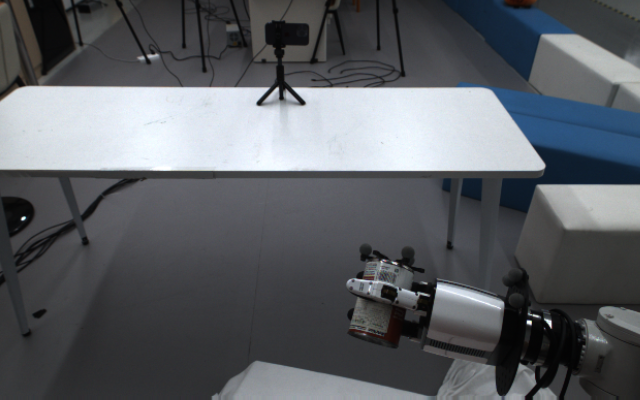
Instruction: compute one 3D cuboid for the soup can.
[{"bbox_3d":[0.084,0.135,0.638,0.067,0.067,0.101,12,70,14],"label":"soup can"}]
